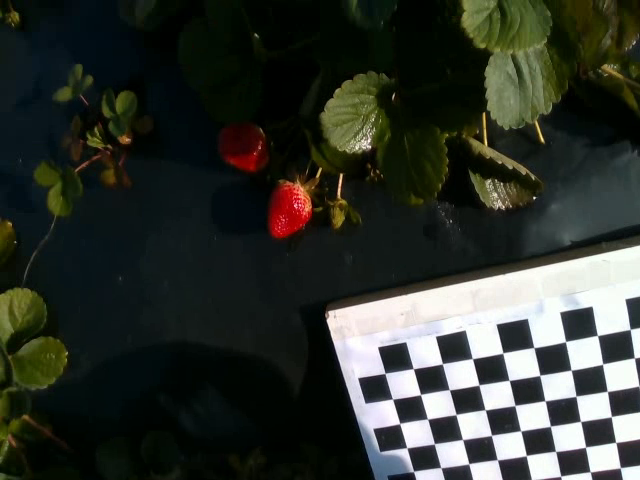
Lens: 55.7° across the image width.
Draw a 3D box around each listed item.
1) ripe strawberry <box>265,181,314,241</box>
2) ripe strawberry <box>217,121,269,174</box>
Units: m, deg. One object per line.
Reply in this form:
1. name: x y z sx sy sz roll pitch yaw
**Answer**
1. ripe strawberry: -0.030 -0.024 0.506 0.043 0.053 0.039 31 -24 1
2. ripe strawberry: -0.065 -0.078 0.534 0.054 0.048 0.039 -1 14 -15
